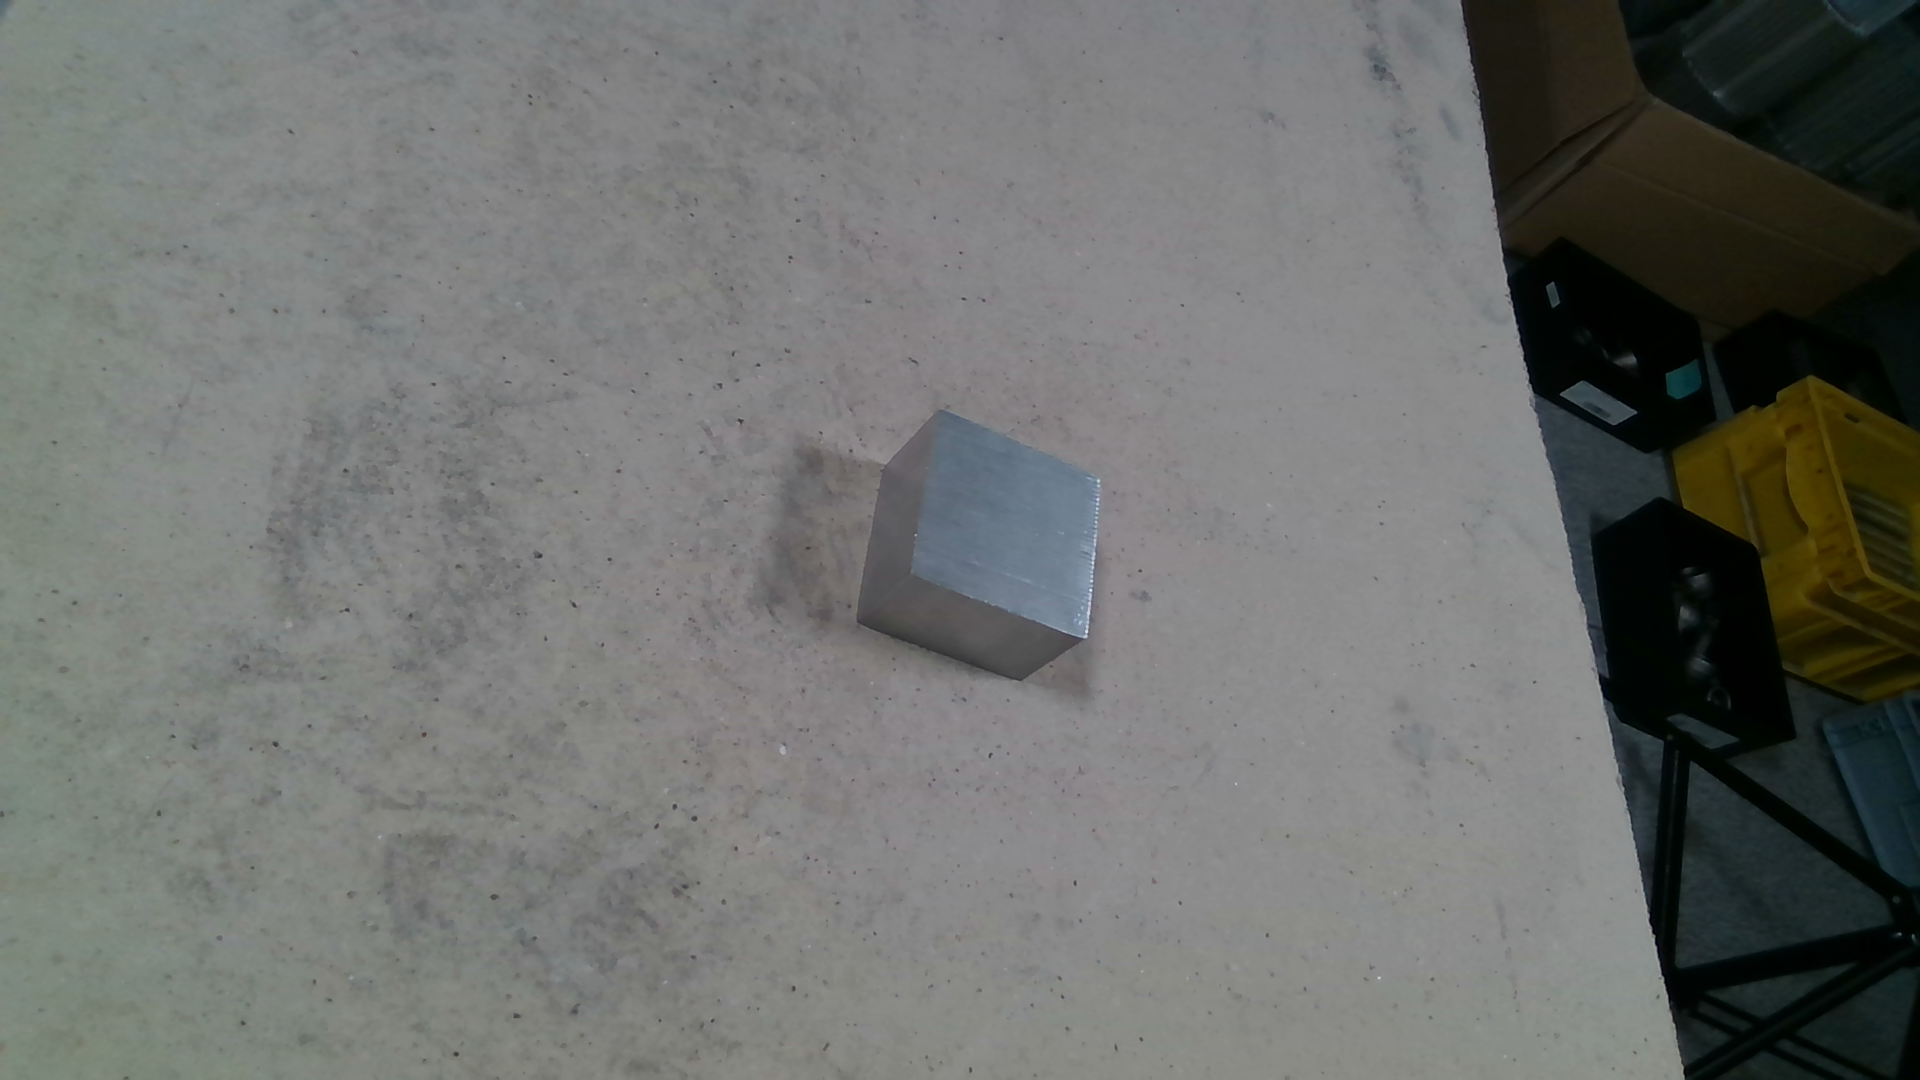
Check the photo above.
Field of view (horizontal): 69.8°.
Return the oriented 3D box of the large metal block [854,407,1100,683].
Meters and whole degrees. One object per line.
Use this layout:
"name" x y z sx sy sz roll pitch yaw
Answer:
"large metal block" 0.009 0.003 0.574 0.080 0.050 0.080 21 56 -21
